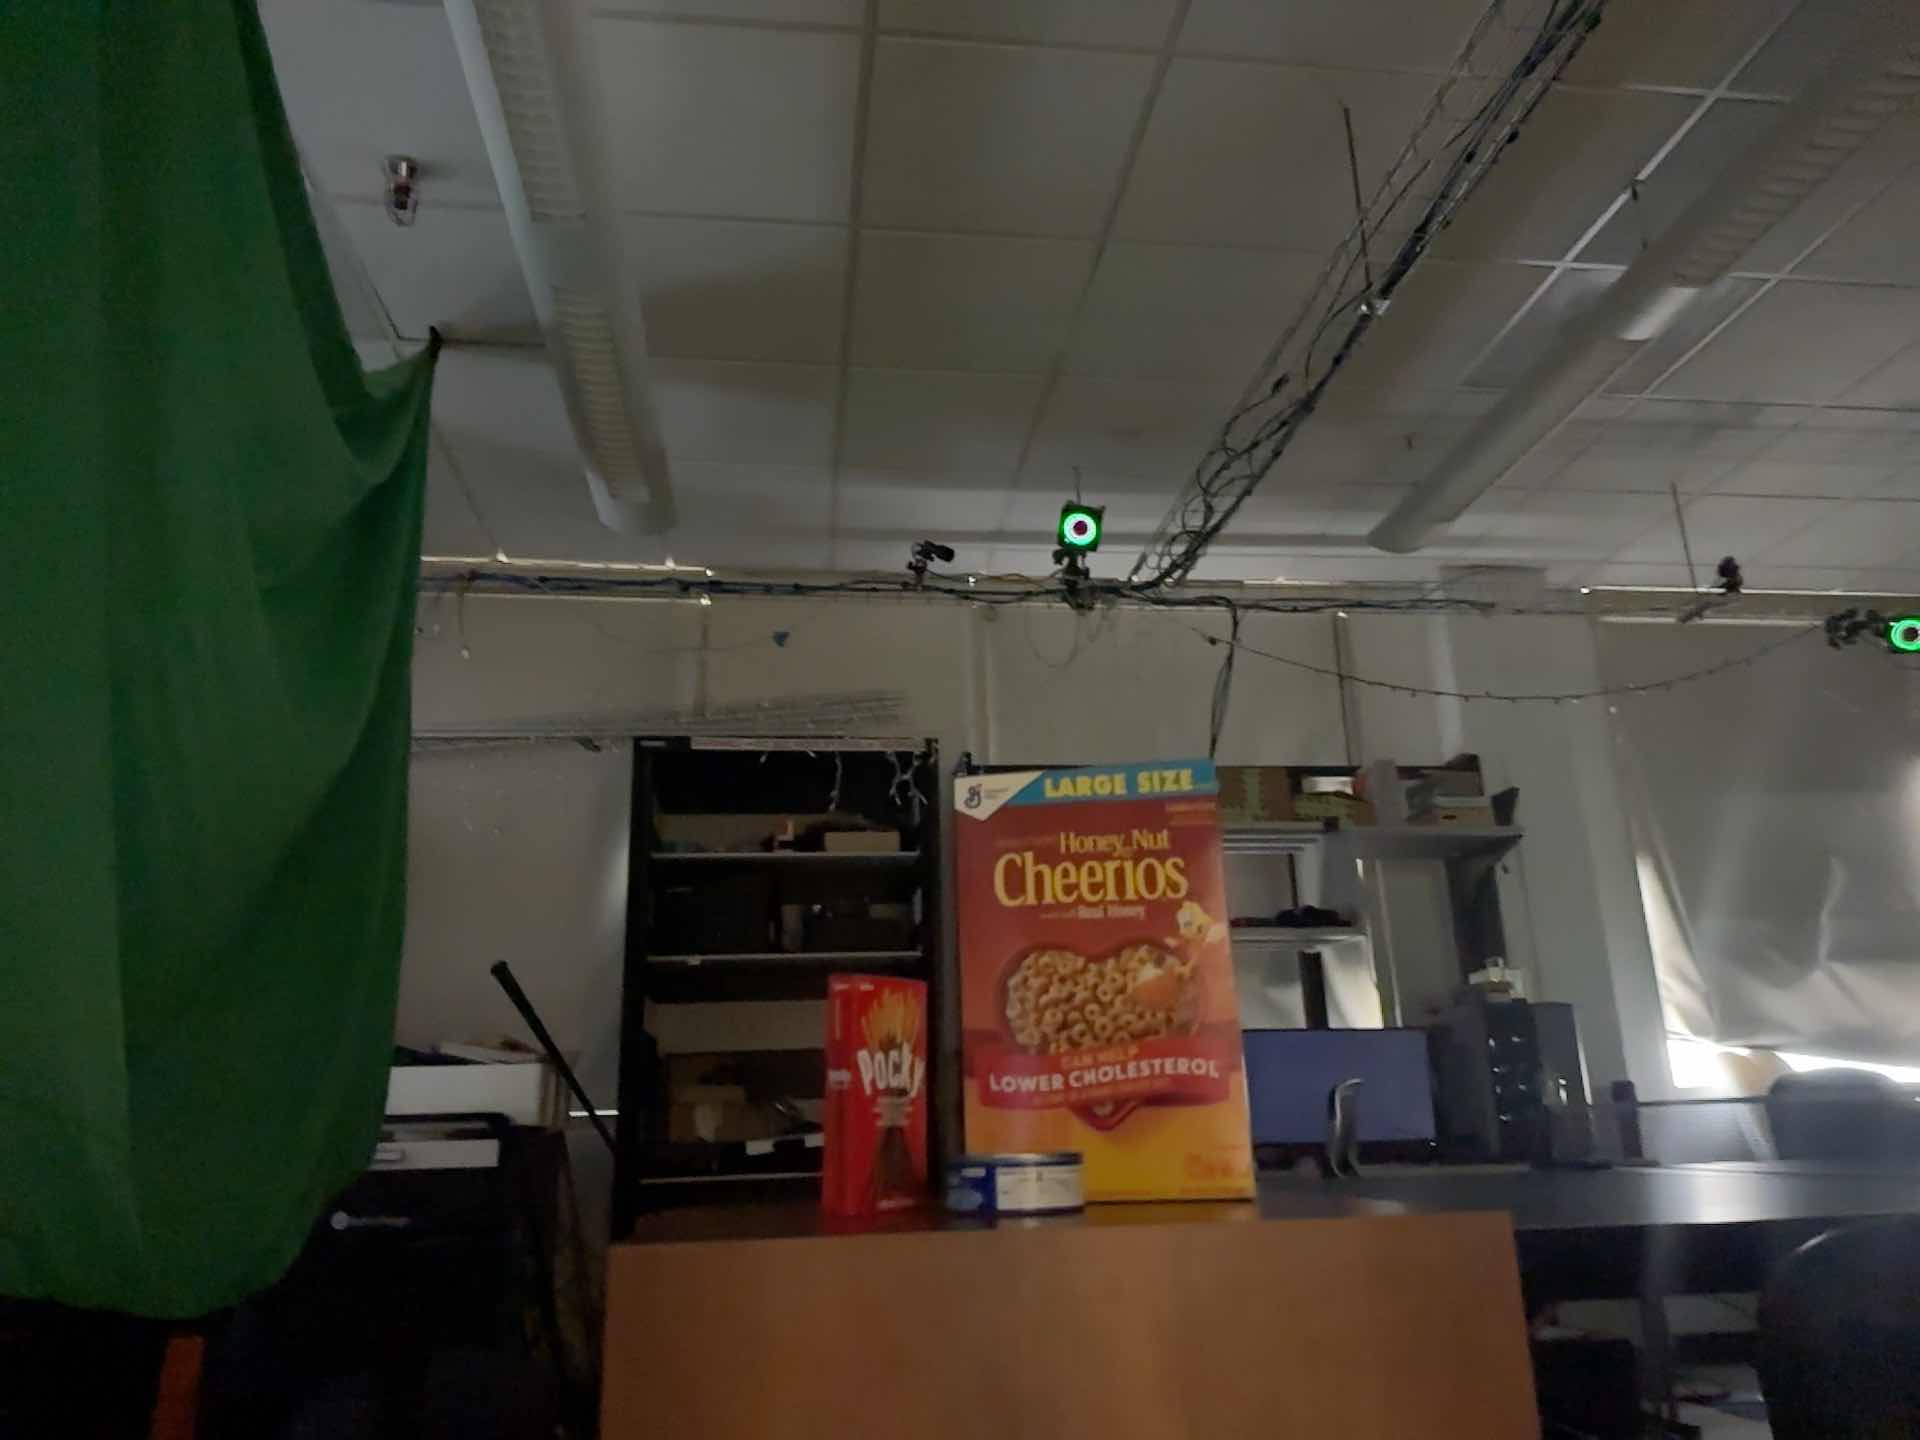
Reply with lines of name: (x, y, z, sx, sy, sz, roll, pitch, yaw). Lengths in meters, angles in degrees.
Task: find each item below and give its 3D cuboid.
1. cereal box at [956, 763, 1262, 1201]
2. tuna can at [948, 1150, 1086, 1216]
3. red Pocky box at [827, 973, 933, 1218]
cereal box: (0.103, 0.190, 0.985, 0.195, 0.297, 0.065, -3, -16, 6)
tuna can: (0.035, 0.285, 0.828, 0.083, 0.034, 0.083, -1, -16, 0)
red Pocky box: (-0.054, 0.250, 0.902, 0.028, 0.155, 0.083, -12, -19, 35)
